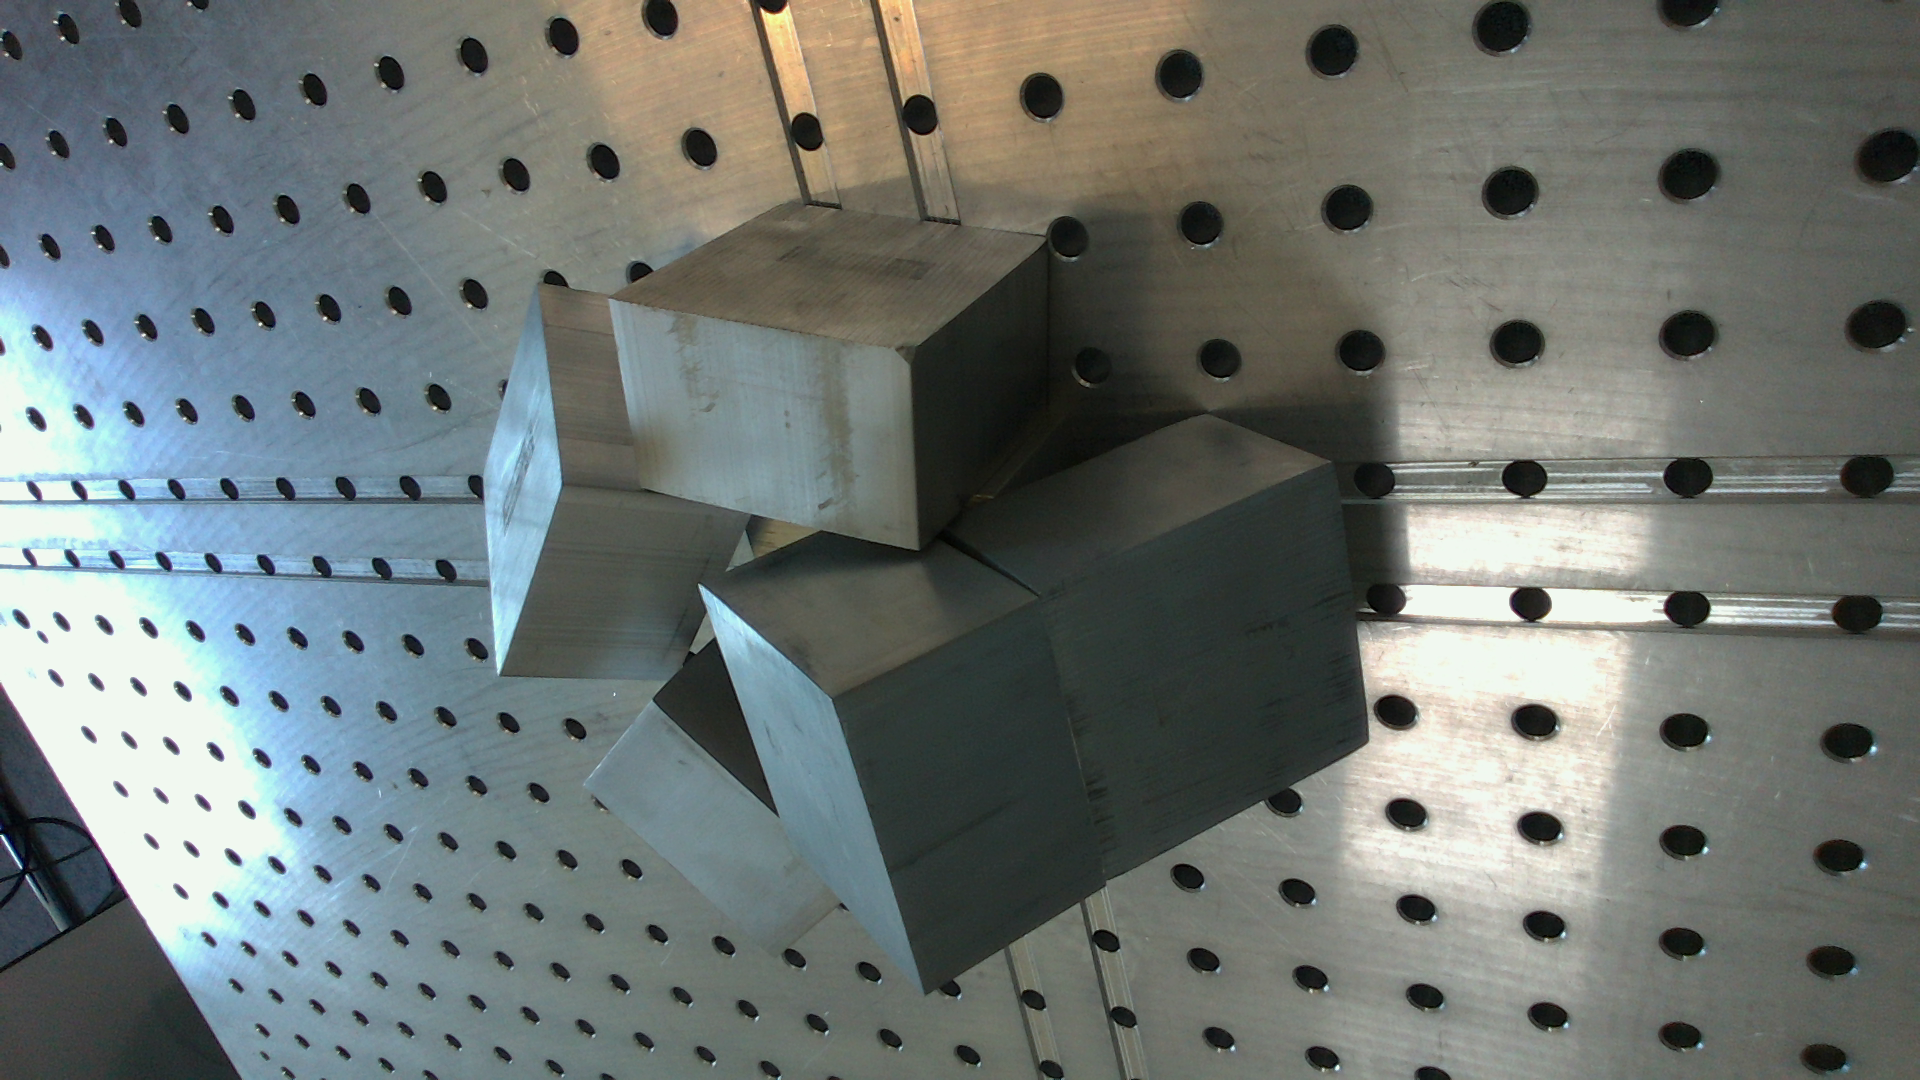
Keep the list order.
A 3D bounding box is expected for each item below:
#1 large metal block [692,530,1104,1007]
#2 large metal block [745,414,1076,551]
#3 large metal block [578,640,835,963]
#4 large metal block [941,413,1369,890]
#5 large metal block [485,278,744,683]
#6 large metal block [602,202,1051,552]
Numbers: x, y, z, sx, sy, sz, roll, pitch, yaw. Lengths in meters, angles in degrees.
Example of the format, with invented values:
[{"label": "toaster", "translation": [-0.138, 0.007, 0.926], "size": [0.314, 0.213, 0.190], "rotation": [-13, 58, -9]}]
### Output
[{"label": "large metal block", "translation": [-0.016, 0.047, 0.327], "size": [0.080, 0.050, 0.080], "rotation": [28, 137, 56]}, {"label": "large metal block", "translation": [-0.008, 0.012, 0.392], "size": [0.080, 0.050, 0.080], "rotation": [1, 119, 28]}, {"label": "large metal block", "translation": [-0.056, 0.068, 0.431], "size": [0.080, 0.080, 0.050], "rotation": [42, 129, -1]}, {"label": "large metal block", "translation": [0.048, 0.024, 0.339], "size": [0.050, 0.080, 0.080], "rotation": [33, 142, 58]}, {"label": "large metal block", "translation": [-0.103, -0.015, 0.398], "size": [0.050, 0.080, 0.080], "rotation": [5, 136, -29]}, {"label": "large metal block", "translation": [-0.029, -0.046, 0.348], "size": [0.080, 0.080, 0.050], "rotation": [13, 124, 22]}]
